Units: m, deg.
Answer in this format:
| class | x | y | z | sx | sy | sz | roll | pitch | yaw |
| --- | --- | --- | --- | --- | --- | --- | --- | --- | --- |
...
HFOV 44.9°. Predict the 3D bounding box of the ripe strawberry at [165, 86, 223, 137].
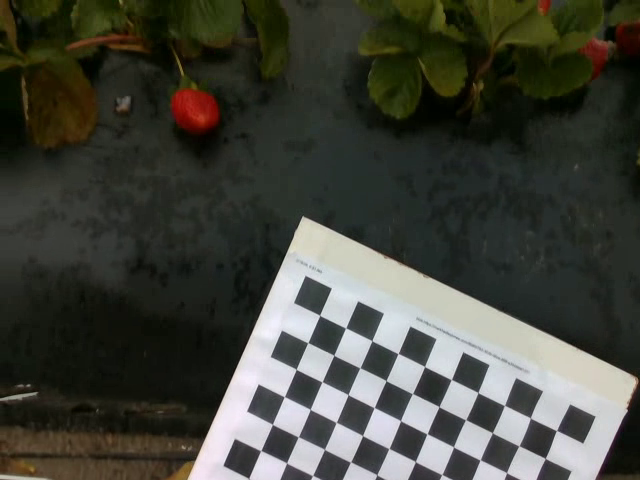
| class | x | y | z | sx | sy | sz | roll | pitch | yaw |
| --- | --- | --- | --- | --- | --- | --- | --- | --- | --- |
| ripe strawberry | -0.109 | -0.106 | 0.671 | 0.045 | 0.054 | 0.048 | -28 | -48 | 5 |
